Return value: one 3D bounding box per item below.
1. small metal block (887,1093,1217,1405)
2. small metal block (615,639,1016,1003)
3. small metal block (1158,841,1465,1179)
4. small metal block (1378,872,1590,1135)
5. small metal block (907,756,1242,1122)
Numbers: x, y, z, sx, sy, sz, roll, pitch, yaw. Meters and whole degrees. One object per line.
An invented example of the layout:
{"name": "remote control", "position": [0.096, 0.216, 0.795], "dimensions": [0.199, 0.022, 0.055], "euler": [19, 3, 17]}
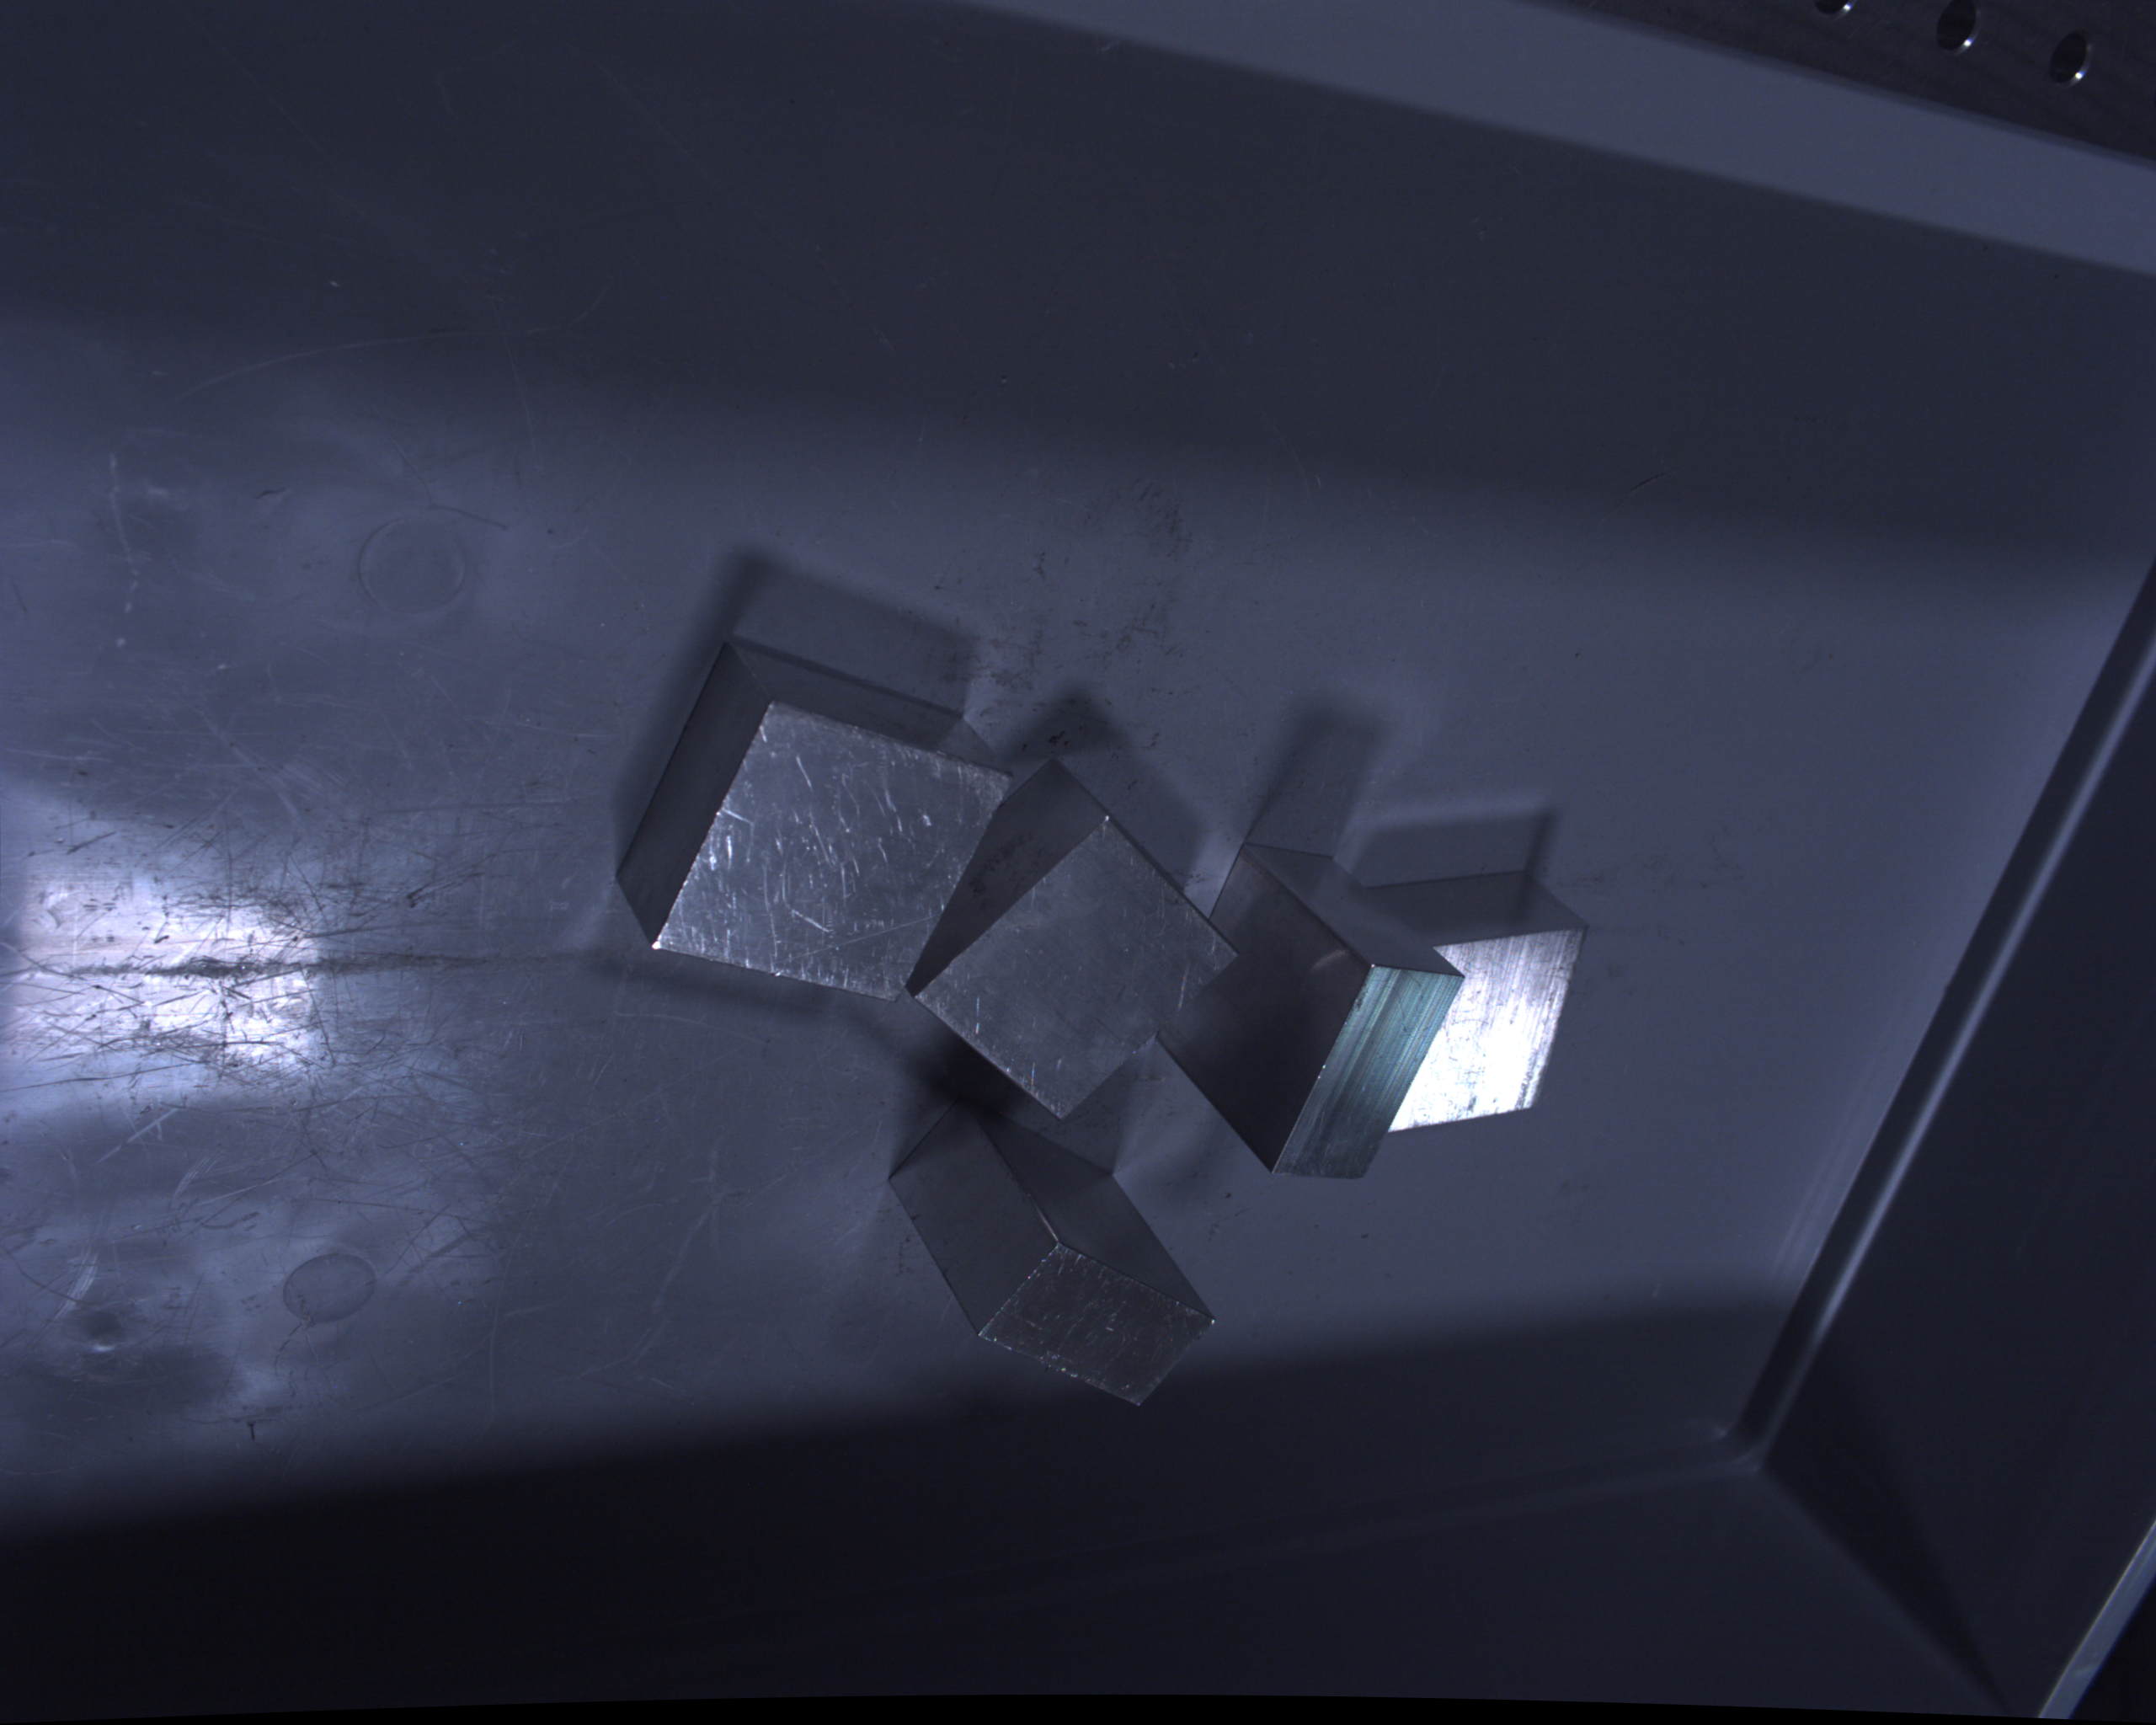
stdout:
{"name": "small metal block", "position": [-0.006, 0.081, 0.438], "dimensions": [0.025, 0.050, 0.050], "euler": [-49, 130, 7]}
{"name": "small metal block", "position": [-0.048, -0.006, 0.377], "dimensions": [0.050, 0.025, 0.050], "euler": [16, 110, -35]}
{"name": "small metal block", "position": [0.047, 0.031, 0.437], "dimensions": [0.025, 0.050, 0.050], "euler": [10, 114, -34]}
{"name": "small metal block", "position": [0.082, 0.032, 0.473], "dimensions": [0.050, 0.025, 0.050], "euler": [-6, 121, -26]}
{"name": "small metal block", "position": [-0.004, 0.016, 0.414], "dimensions": [0.050, 0.025, 0.050], "euler": [-43, 130, 1]}
